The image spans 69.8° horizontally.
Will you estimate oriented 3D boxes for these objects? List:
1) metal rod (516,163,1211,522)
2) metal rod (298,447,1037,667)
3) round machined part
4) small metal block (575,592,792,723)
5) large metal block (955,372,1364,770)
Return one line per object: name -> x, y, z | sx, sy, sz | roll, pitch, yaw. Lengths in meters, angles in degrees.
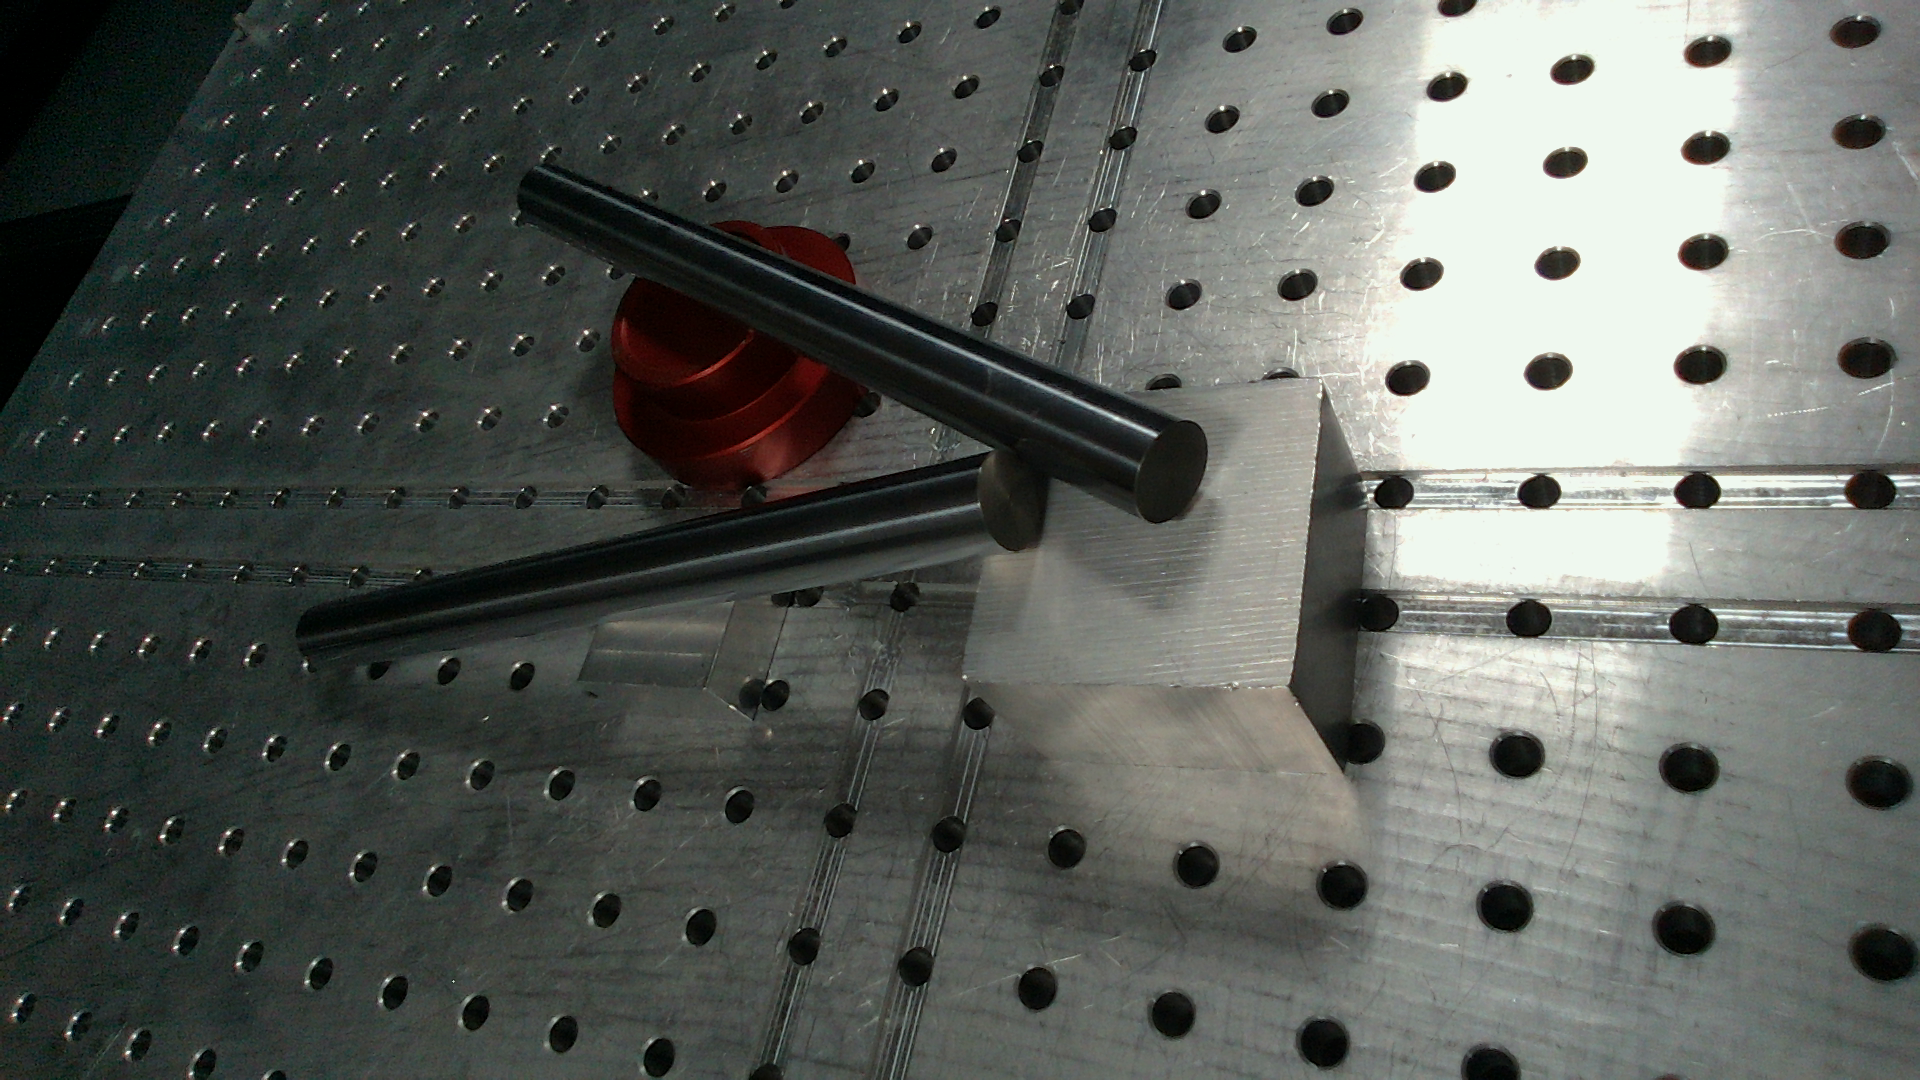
metal rod -> -0.051, -0.071, 0.406 | 0.299, 0.025, 0.025 | 29, 78, 41
metal rod -> -0.108, 0.012, 0.413 | 0.299, 0.025, 0.025 | -10, 56, 35
round machined part -> -0.080, -0.069, 0.472 | 0.098, 0.042, 0.098 | -13, 56, 21
small metal block -> -0.084, 0.027, 0.426 | 0.050, 0.025, 0.050 | -1, 61, 28
large metal block -> 0.053, 0.009, 0.343 | 0.080, 0.050, 0.080 | -2, 61, 28
